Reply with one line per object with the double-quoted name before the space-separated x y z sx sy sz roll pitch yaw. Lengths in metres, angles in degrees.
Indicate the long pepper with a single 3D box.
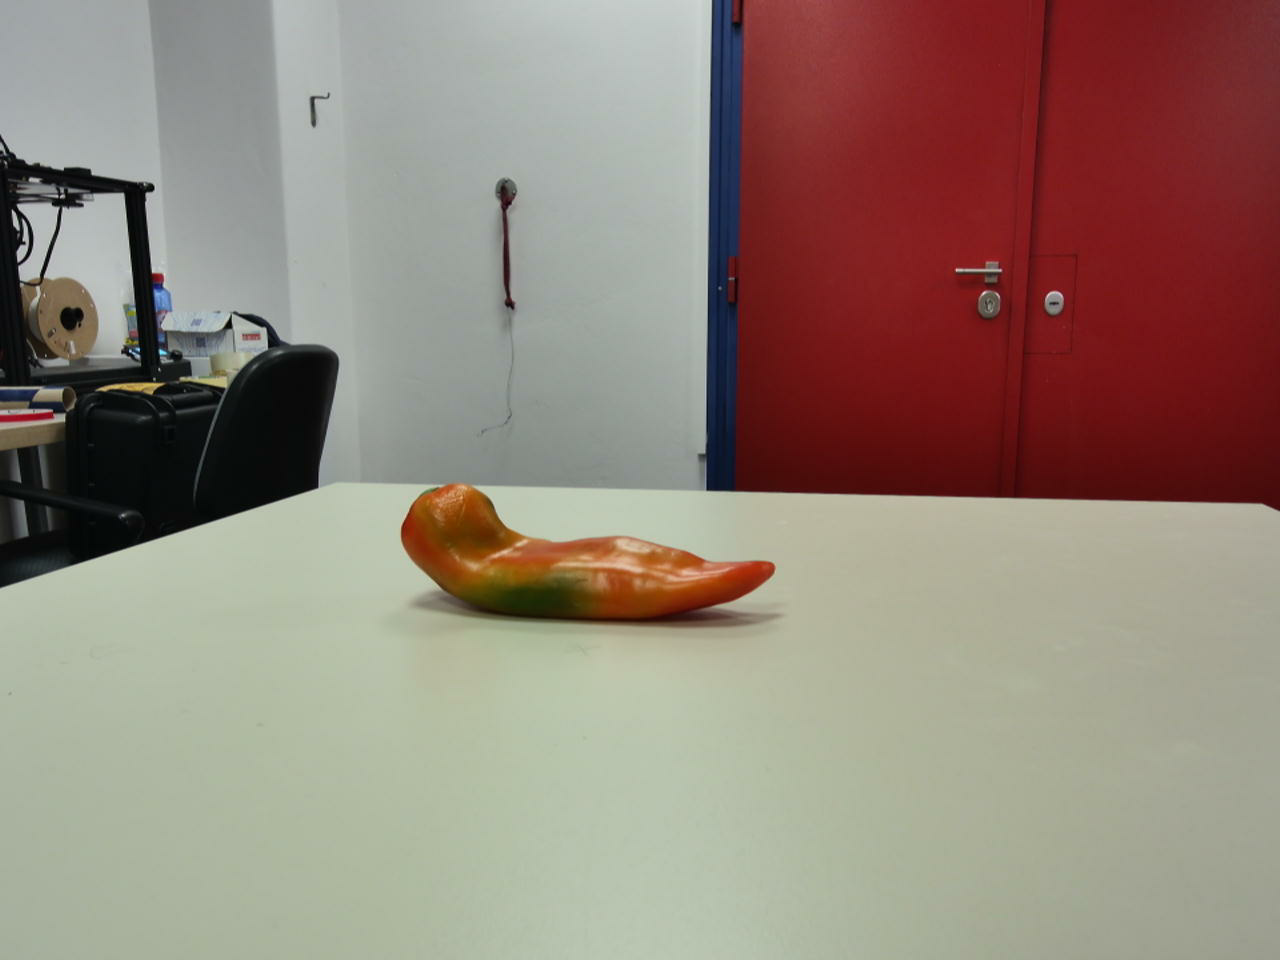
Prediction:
"long pepper" -0.031 0.036 0.518 0.199 0.065 0.066 2 7 17
